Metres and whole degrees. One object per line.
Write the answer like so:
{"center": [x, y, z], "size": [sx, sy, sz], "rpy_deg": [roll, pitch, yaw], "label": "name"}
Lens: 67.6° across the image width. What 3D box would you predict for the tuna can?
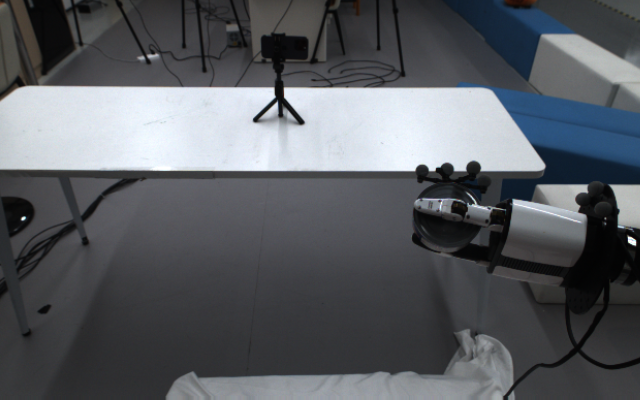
{"center": [0.162, 0.019, 0.617], "size": [0.085, 0.034, 0.085], "rpy_deg": [-2, 70, 6], "label": "tuna can"}
